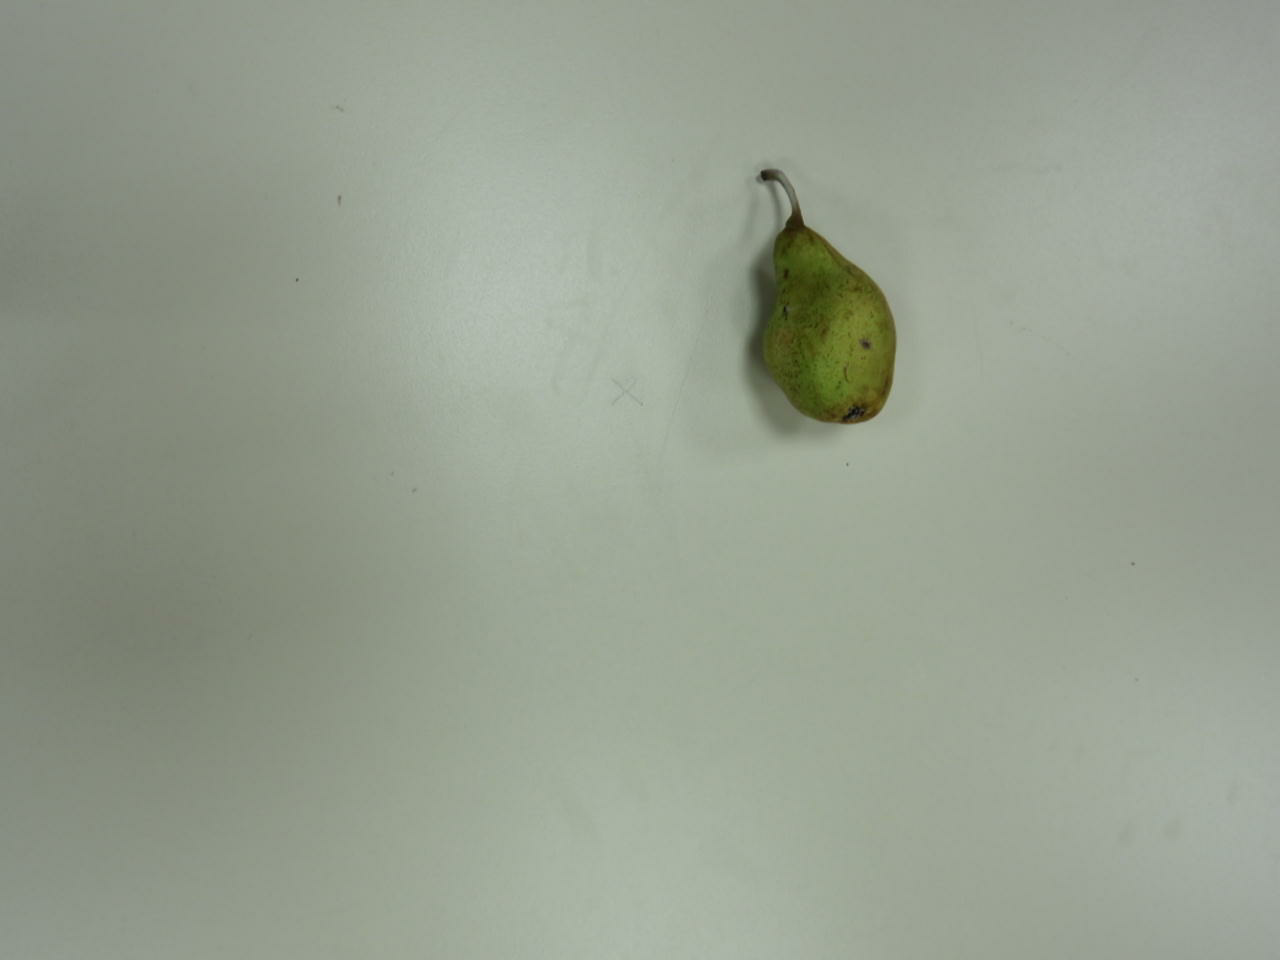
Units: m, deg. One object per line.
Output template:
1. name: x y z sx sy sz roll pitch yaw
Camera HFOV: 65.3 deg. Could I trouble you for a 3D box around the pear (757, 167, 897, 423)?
1. pear: 0.082 -0.079 0.422 0.056 0.056 0.111 5 89 -11
